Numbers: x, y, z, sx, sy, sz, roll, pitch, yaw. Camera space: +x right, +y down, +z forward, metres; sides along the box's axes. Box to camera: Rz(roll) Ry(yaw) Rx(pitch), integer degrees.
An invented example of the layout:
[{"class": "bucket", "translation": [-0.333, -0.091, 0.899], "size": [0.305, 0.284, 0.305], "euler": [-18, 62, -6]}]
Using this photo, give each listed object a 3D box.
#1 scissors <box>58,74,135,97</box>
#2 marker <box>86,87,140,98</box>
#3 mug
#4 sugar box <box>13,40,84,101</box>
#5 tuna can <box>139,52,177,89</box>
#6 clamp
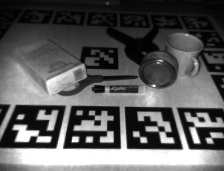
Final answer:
[{"class": "scissors", "translation": [-0.045, -0.016, 0.507], "size": [0.204, 0.016, 0.087], "euler": [-6, 43, -13]}, {"class": "marker", "translation": [0.002, 0.015, 0.483], "size": [0.121, 0.020, 0.019], "euler": [-3, 47, -6]}, {"class": "mug", "translation": [0.162, -0.066, 0.536], "size": [0.094, 0.082, 0.115], "euler": [-20, 47, -22]}, {"class": "sugar box", "translation": [-0.152, -0.044, 0.503], "size": [0.093, 0.045, 0.174], "euler": [-28, 48, -28]}, {"class": "tuna can", "translation": [0.104, -0.032, 0.491], "size": [0.085, 0.086, 0.034], "euler": [12, 46, 8]}, {"class": "clamp", "translation": [0.068, -0.110, 0.614], "size": [0.166, 0.037, 0.201], "euler": [-7, 47, -11]}]
